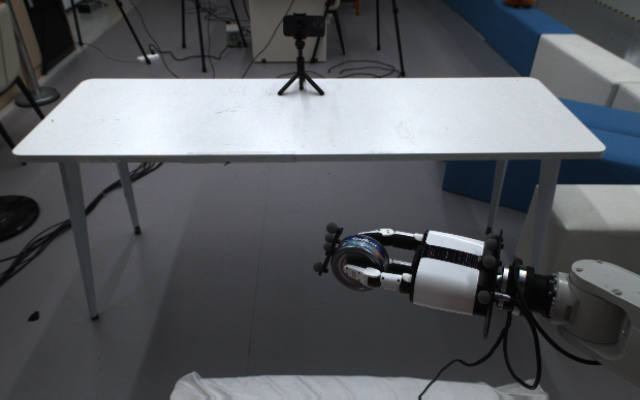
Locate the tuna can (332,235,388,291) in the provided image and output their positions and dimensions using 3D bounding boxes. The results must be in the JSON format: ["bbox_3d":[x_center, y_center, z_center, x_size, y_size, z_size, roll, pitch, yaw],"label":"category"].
[{"bbox_3d":[0.064,0.096,0.741,0.085,0.085,0.034,12,30,14],"label":"tuna can"}]
